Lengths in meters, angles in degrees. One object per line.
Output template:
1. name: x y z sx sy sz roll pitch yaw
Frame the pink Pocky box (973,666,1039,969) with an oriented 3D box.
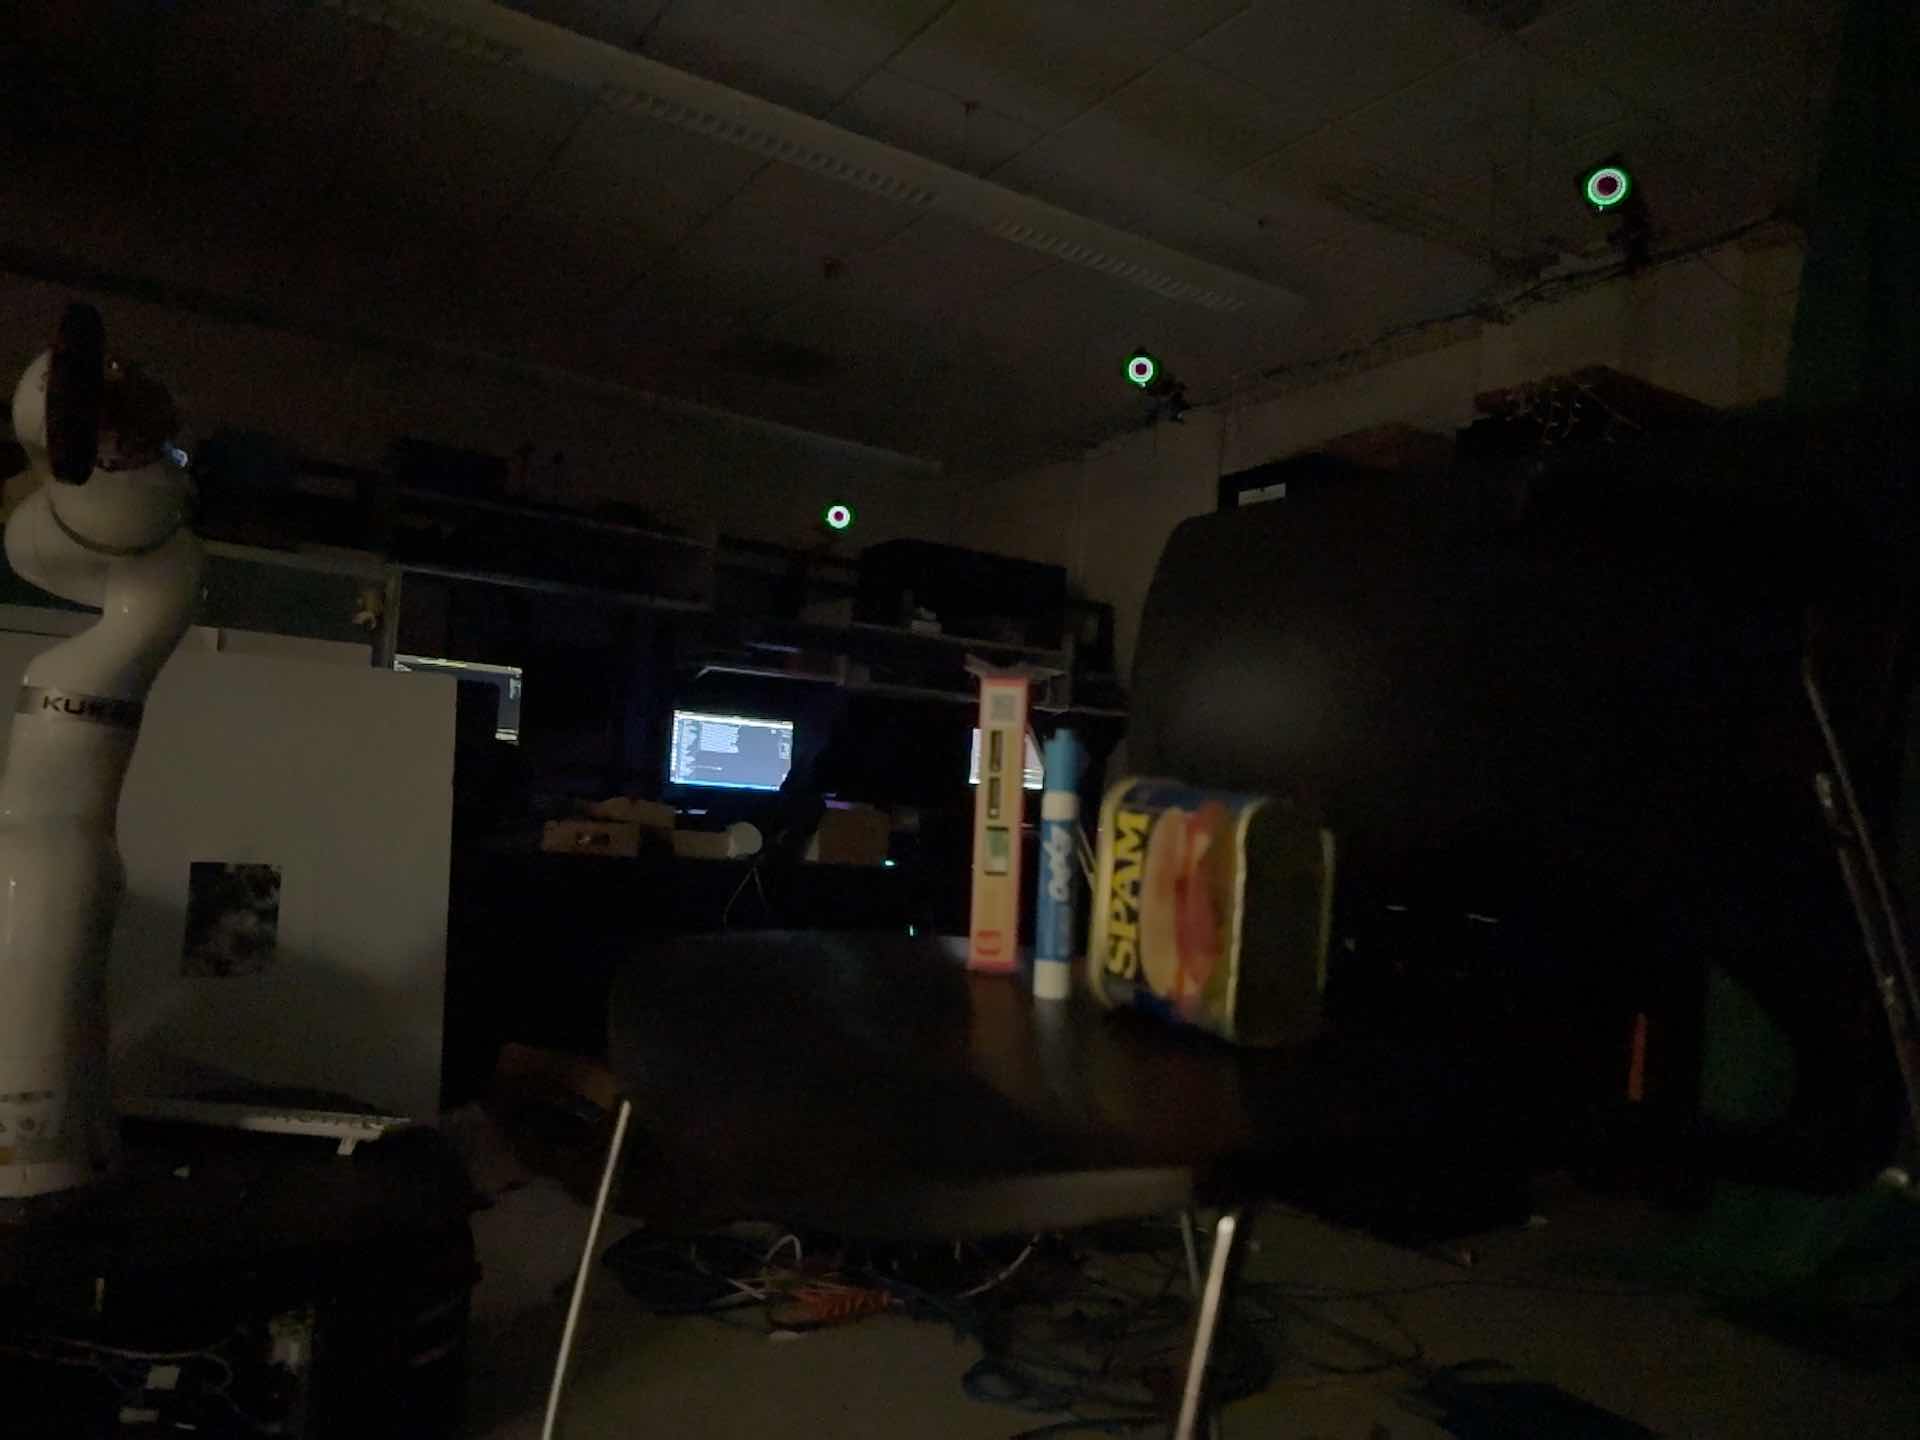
1. pink Pocky box: 0.025 0.052 0.727 0.029 0.155 0.084 2 -3 4

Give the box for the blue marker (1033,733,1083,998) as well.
1. blue marker: 0.045 0.066 0.623 0.020 0.121 0.020 2 -1 0

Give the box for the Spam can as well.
1. Spam can: 0.102 0.075 0.559 0.056 0.100 0.083 5 0 -38
